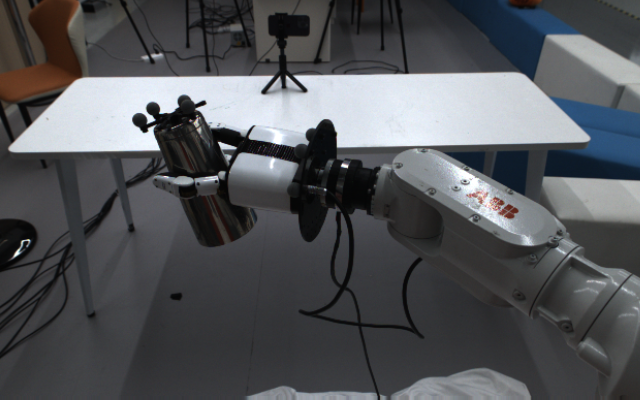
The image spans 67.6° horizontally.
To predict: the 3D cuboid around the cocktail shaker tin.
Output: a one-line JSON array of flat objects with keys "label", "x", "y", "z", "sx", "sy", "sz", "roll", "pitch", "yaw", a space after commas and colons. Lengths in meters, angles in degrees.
[{"label": "cocktail shaker tin", "x": -0.159, "y": -0.031, "z": 0.659, "sx": 0.093, "sy": 0.170, "sz": 0.093, "roll": -15, "pitch": 29, "yaw": 8}]
